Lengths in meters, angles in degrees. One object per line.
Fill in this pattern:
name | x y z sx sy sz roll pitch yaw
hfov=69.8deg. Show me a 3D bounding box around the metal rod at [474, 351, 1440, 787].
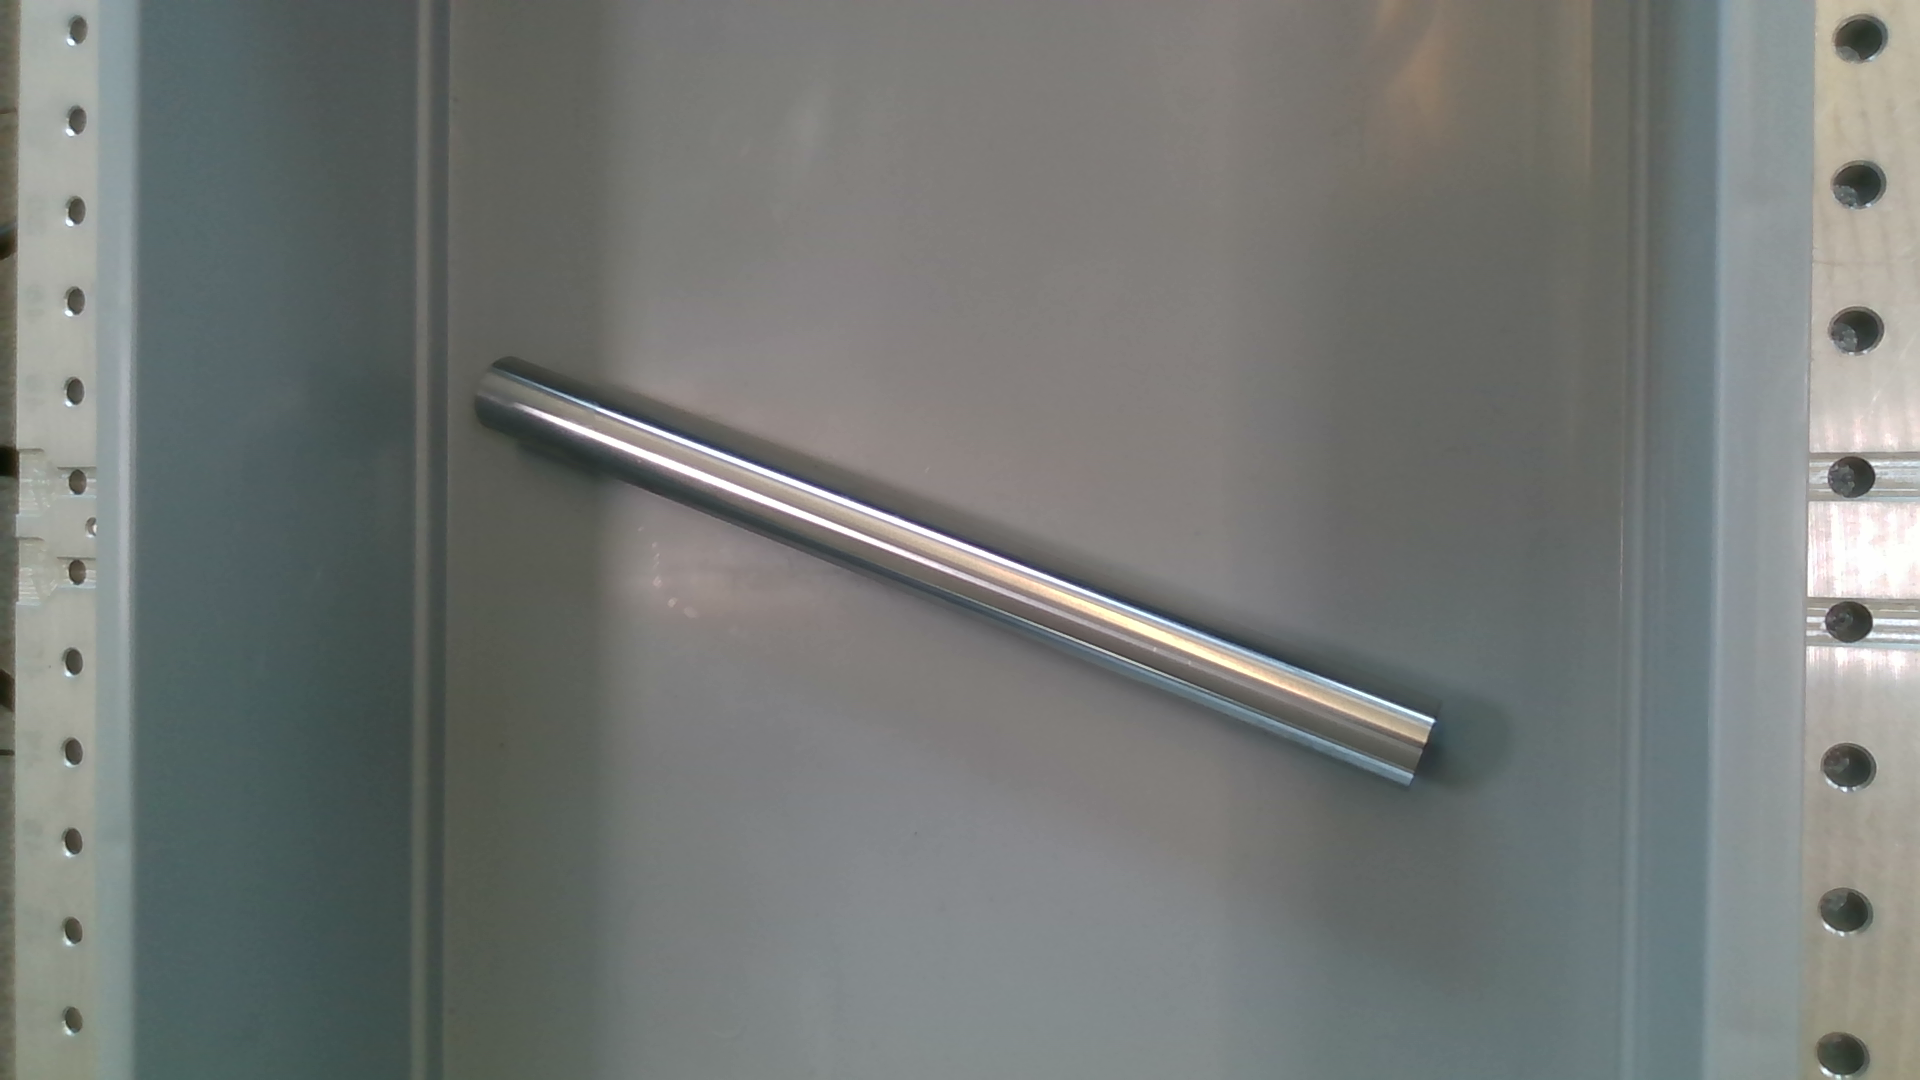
metal rod | -0.016 0.001 0.397 0.300 0.025 0.025 21 97 19
